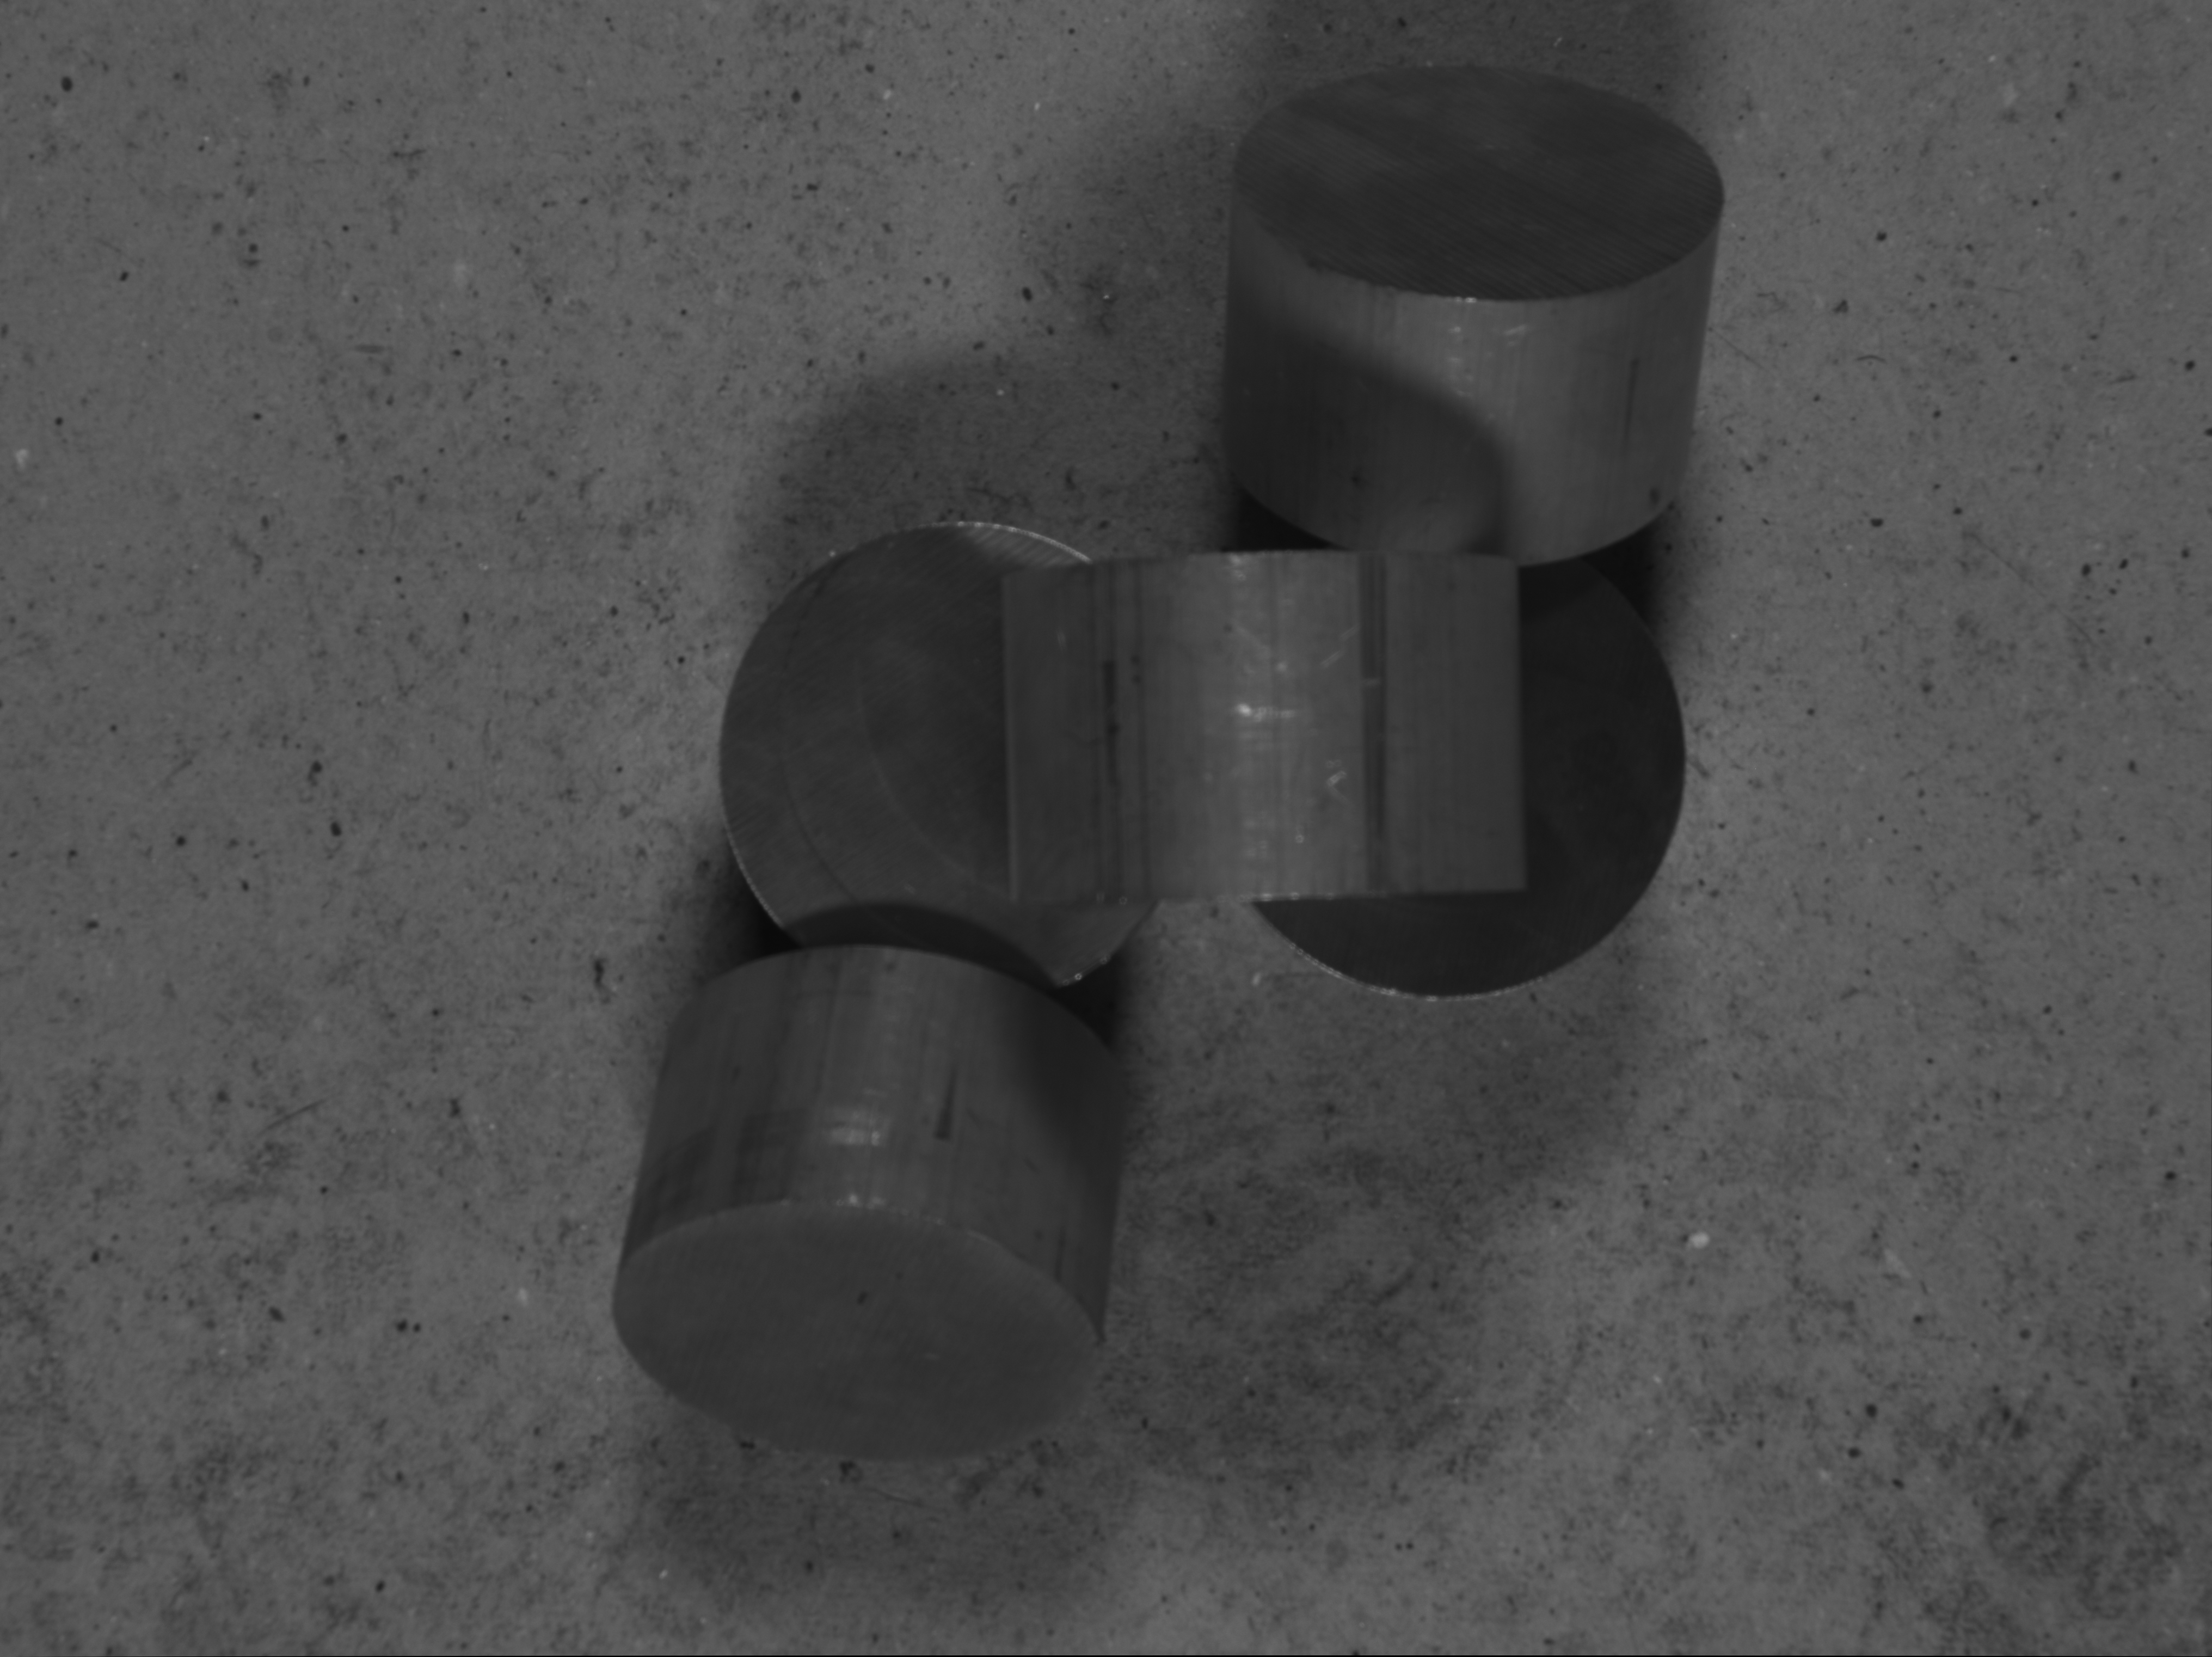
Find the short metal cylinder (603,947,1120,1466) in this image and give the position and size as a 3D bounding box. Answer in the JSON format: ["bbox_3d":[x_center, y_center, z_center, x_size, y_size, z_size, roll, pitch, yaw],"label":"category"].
[{"bbox_3d":[-0.039,0.064,0.611,0.080,0.080,0.050,7,51,0],"label":"short metal cylinder"}]

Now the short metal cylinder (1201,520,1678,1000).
[{"bbox_3d":[0.055,-0.011,0.633,0.080,0.050,0.080,0,90,0],"label":"short metal cylinder"}]

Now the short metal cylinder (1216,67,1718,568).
[{"bbox_3d":[0.059,-0.086,0.611,0.080,0.080,0.050,1,128,0],"label":"short metal cylinder"}]

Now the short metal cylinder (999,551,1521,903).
[{"bbox_3d":[0.024,-0.015,0.568,0.080,0.080,0.050,-1,90,0],"label":"short metal cylinder"}]

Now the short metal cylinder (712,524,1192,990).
[{"bbox_3d":[-0.025,-0.010,0.632,0.080,0.050,0.080,0,90,0],"label":"short metal cylinder"}]
